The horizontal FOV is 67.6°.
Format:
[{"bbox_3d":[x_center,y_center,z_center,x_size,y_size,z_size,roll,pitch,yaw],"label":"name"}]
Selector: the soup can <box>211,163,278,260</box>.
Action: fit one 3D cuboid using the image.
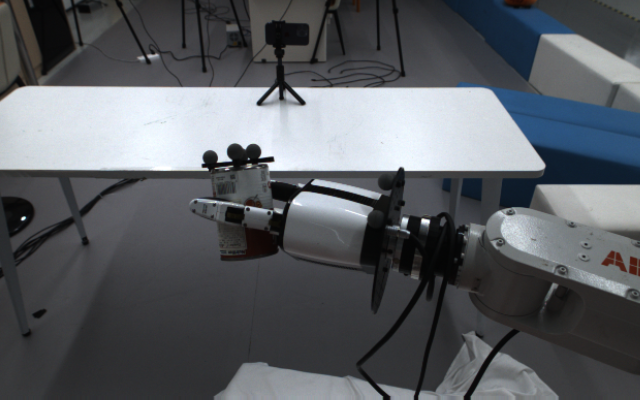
[{"bbox_3d":[-0.084,0.013,0.552,0.067,0.101,0.067,-7,3,0],"label":"soup can"}]
